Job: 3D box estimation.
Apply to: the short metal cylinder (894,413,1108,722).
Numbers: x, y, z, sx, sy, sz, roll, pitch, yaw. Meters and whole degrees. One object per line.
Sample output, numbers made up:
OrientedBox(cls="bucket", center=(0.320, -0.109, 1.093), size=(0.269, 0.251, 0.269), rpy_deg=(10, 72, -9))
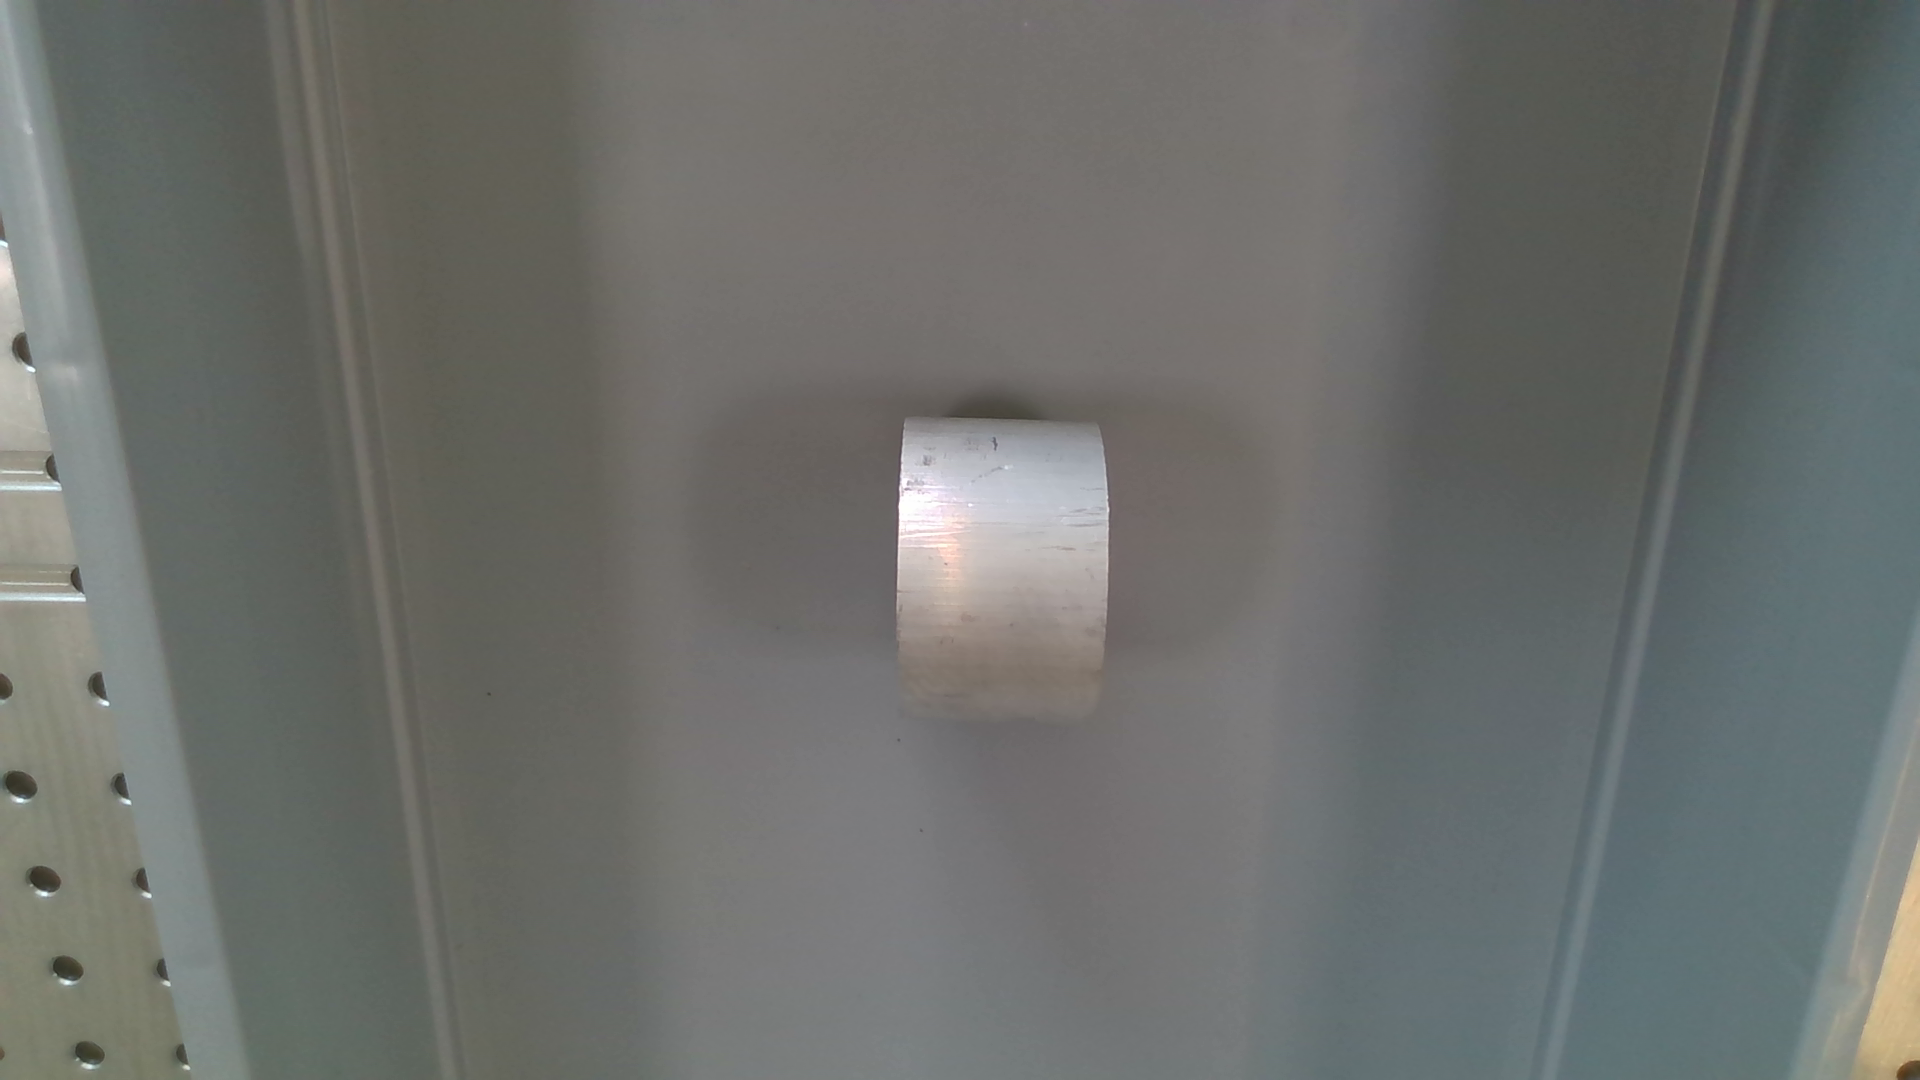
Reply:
OrientedBox(cls="short metal cylinder", center=(0.009, 0.007, 0.364), size=(0.050, 0.080, 0.080), rpy_deg=(2, 110, -1))
